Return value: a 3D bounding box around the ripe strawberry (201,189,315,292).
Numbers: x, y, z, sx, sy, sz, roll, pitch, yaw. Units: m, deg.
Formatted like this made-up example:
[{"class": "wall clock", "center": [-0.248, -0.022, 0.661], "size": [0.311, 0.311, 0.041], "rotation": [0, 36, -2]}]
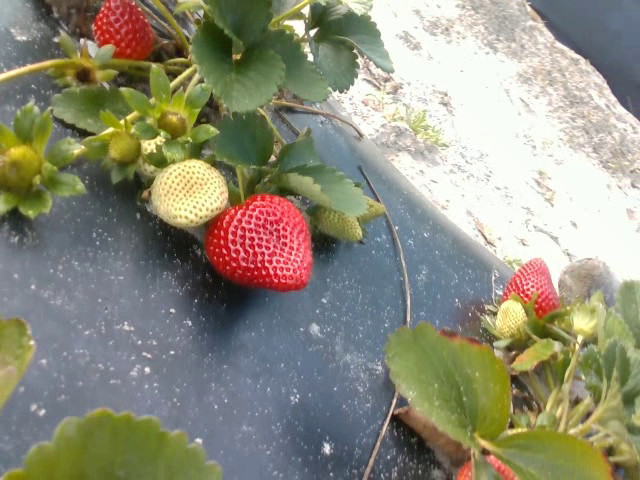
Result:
[{"class": "ripe strawberry", "center": [-0.023, 0.005, 0.262], "size": [0.051, 0.048, 0.055], "rotation": [-22, 34, -14]}]
